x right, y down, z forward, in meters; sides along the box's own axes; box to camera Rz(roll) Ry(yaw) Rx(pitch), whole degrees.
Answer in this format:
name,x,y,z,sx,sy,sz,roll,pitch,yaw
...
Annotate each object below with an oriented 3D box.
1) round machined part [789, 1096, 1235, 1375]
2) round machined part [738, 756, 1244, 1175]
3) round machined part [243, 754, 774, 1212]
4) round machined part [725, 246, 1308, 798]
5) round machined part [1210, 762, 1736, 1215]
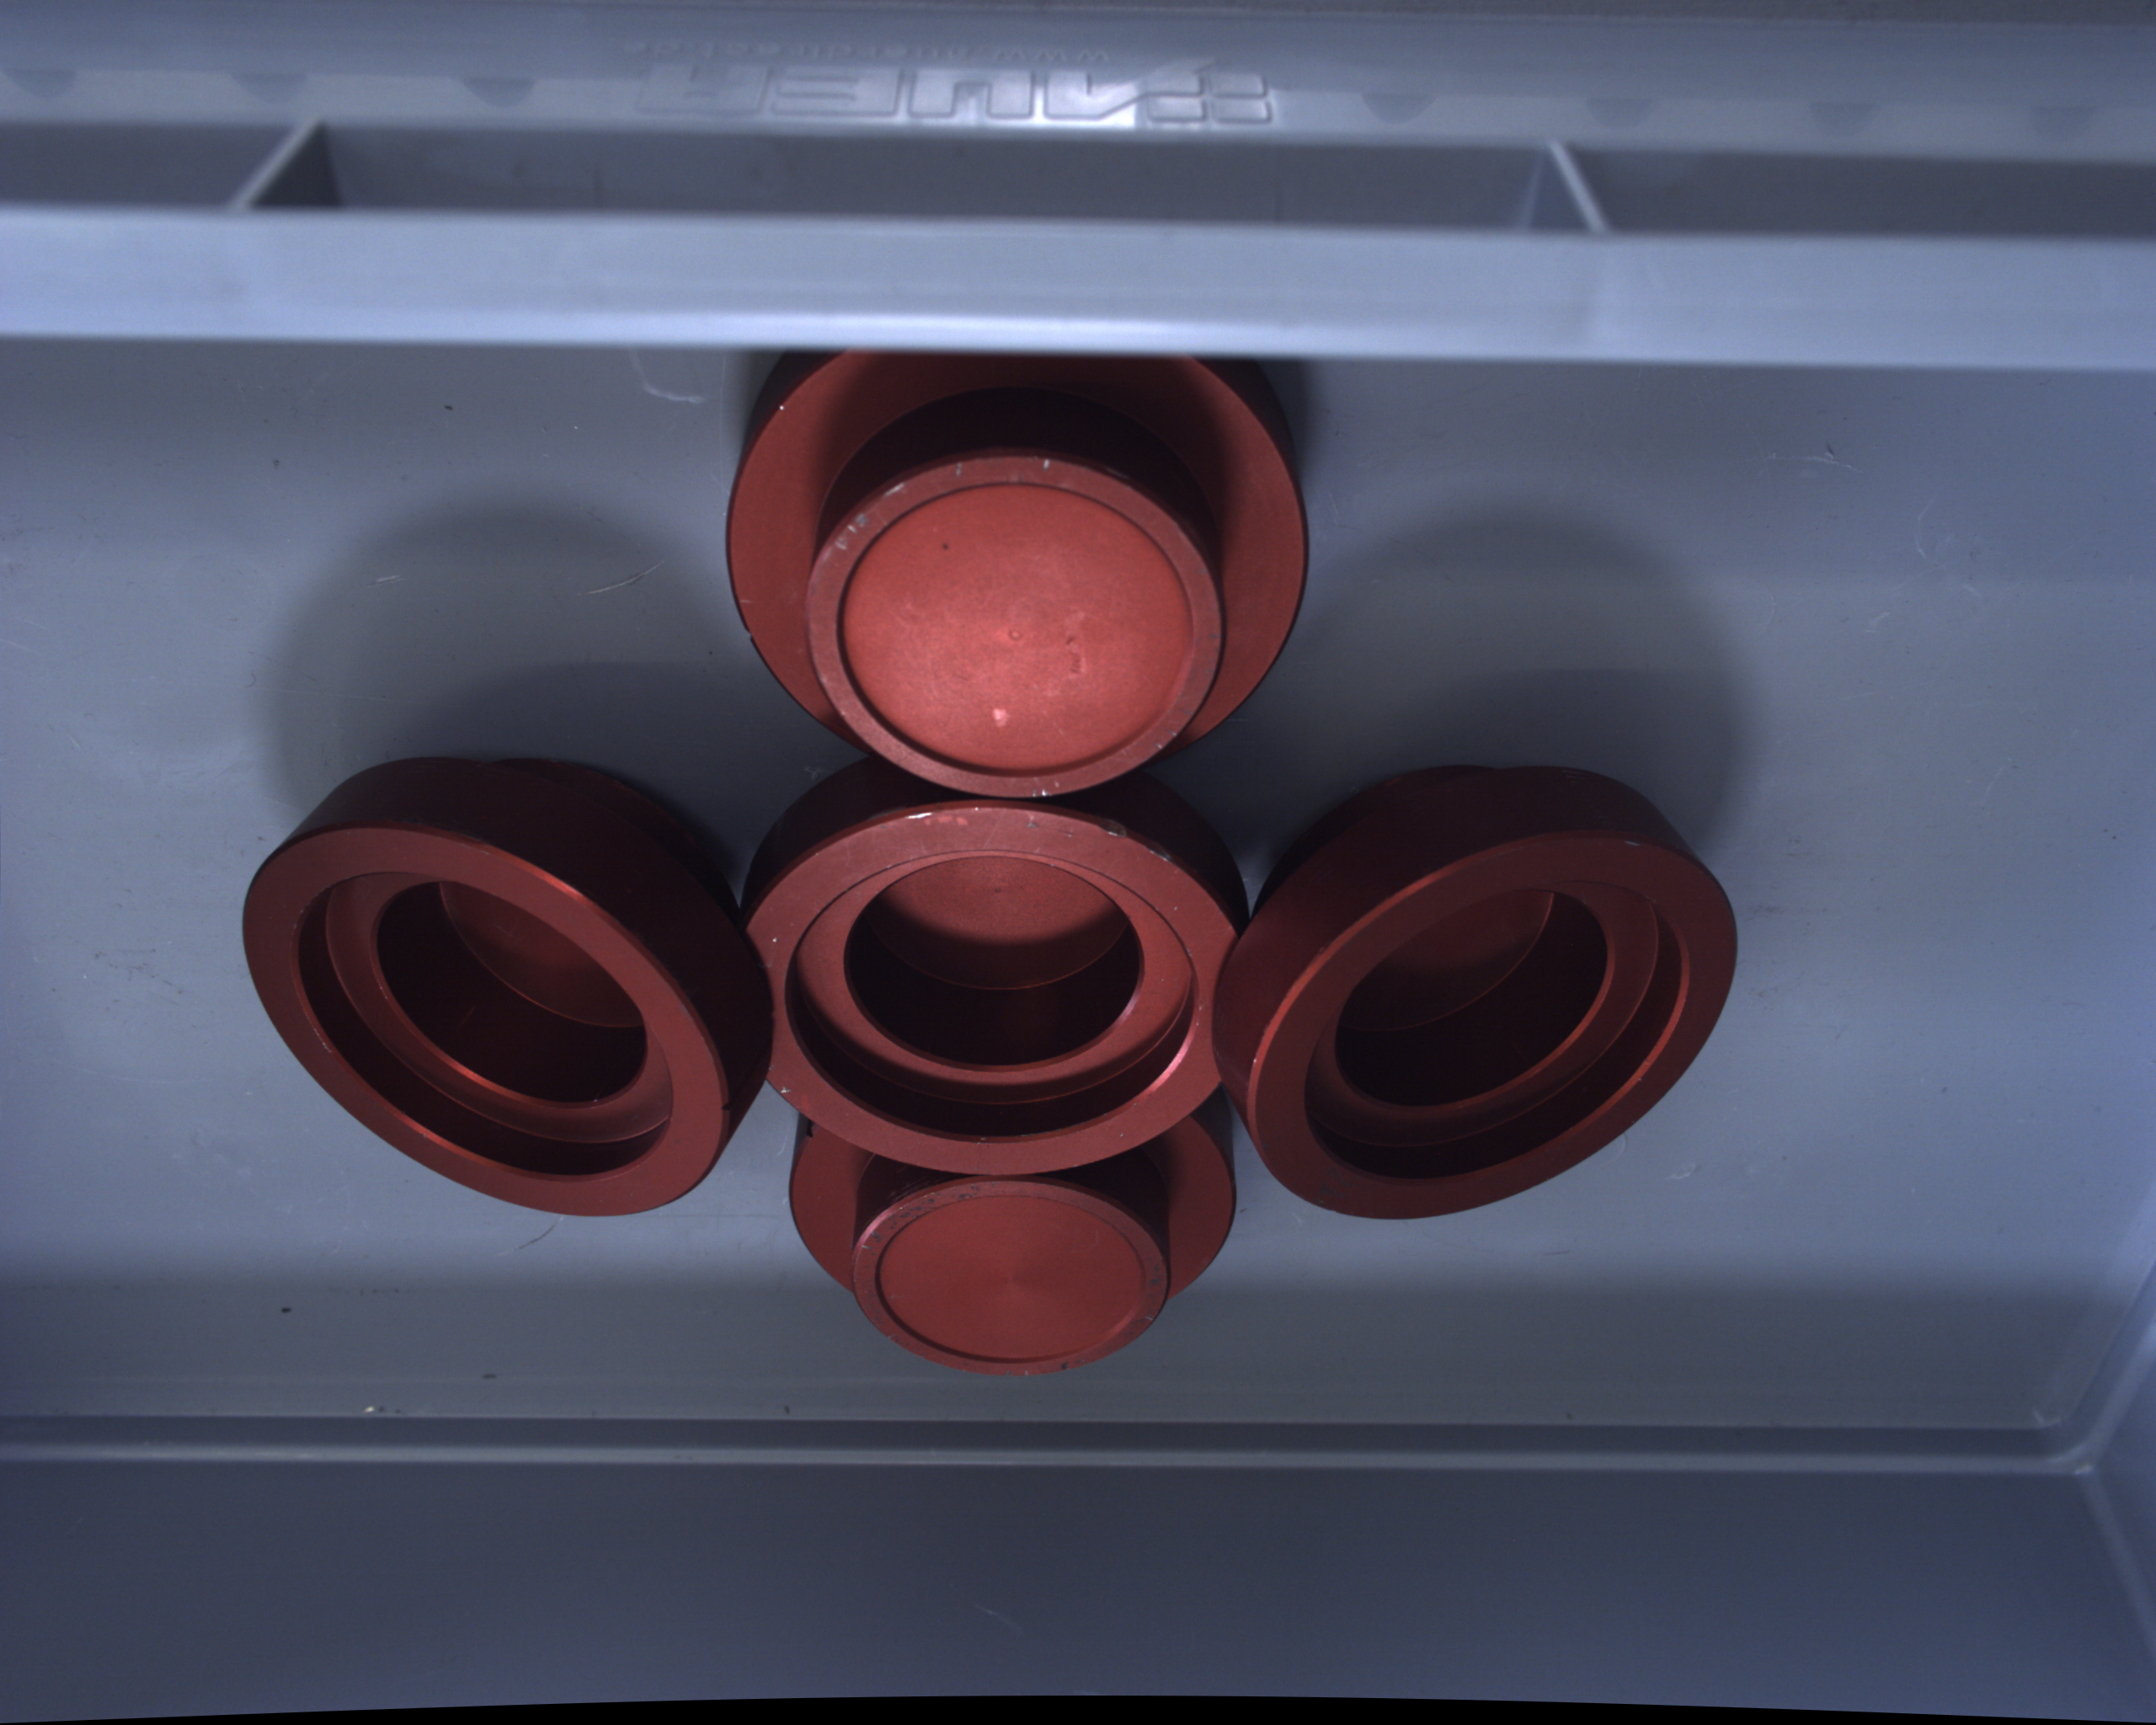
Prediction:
name,x,y,z,sx,sy,sz,roll,pitch,yaw
round machined part,-0.015,0.076,0.460,0.099,0.042,0.097,0,130,0
round machined part,-0.016,0.013,0.406,0.099,0.042,0.097,0,130,0
round machined part,-0.104,0.018,0.400,0.098,0.042,0.097,11,131,13
round machined part,-0.010,-0.050,0.353,0.099,0.042,0.097,0,130,0
round machined part,0.072,0.020,0.402,0.099,0.042,0.097,-11,132,-13
